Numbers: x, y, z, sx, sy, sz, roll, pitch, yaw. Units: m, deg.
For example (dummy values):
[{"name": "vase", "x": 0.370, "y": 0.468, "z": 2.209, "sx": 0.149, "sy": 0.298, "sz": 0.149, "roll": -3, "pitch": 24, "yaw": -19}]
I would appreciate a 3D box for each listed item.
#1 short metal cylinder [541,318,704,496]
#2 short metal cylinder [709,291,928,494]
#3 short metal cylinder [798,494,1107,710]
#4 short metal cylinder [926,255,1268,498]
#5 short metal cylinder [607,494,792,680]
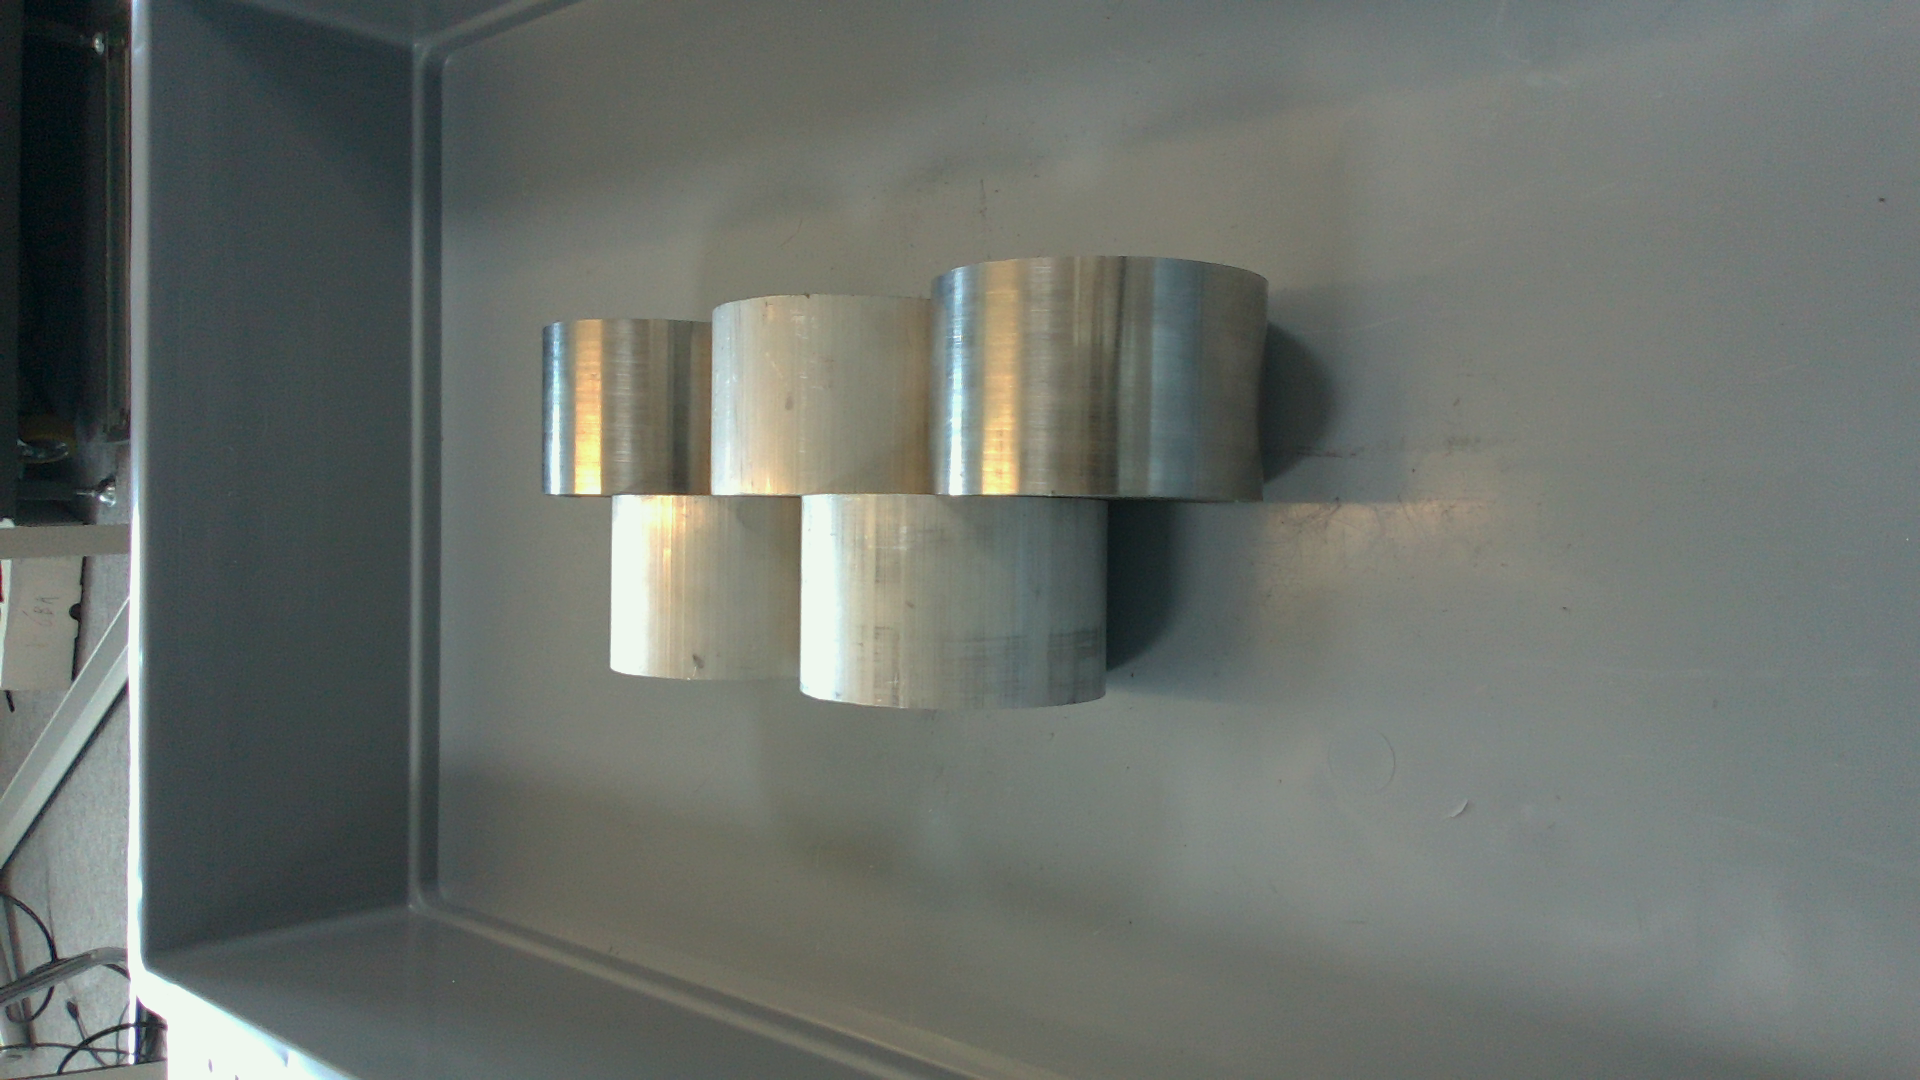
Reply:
[{"name": "short metal cylinder", "x": -0.090, "y": -0.039, "z": 0.433, "sx": 0.080, "sy": 0.080, "sz": 0.050, "roll": 1, "pitch": 91, "yaw": 40}, {"name": "short metal cylinder", "x": -0.029, "y": -0.037, "z": 0.381, "sx": 0.080, "sy": 0.080, "sz": 0.050, "roll": 1, "pitch": 91, "yaw": 40}, {"name": "short metal cylinder", "x": -0.002, "y": 0.014, "z": 0.359, "sx": 0.080, "sy": 0.080, "sz": 0.050, "roll": 1, "pitch": 91, "yaw": 40}, {"name": "short metal cylinder", "x": 0.032, "y": -0.036, "z": 0.330, "sx": 0.080, "sy": 0.080, "sz": 0.050, "roll": 2, "pitch": 92, "yaw": 40}, {"name": "short metal cylinder", "x": -0.064, "y": 0.012, "z": 0.411, "sx": 0.080, "sy": 0.080, "sz": 0.050, "roll": 1, "pitch": 91, "yaw": 40}]
